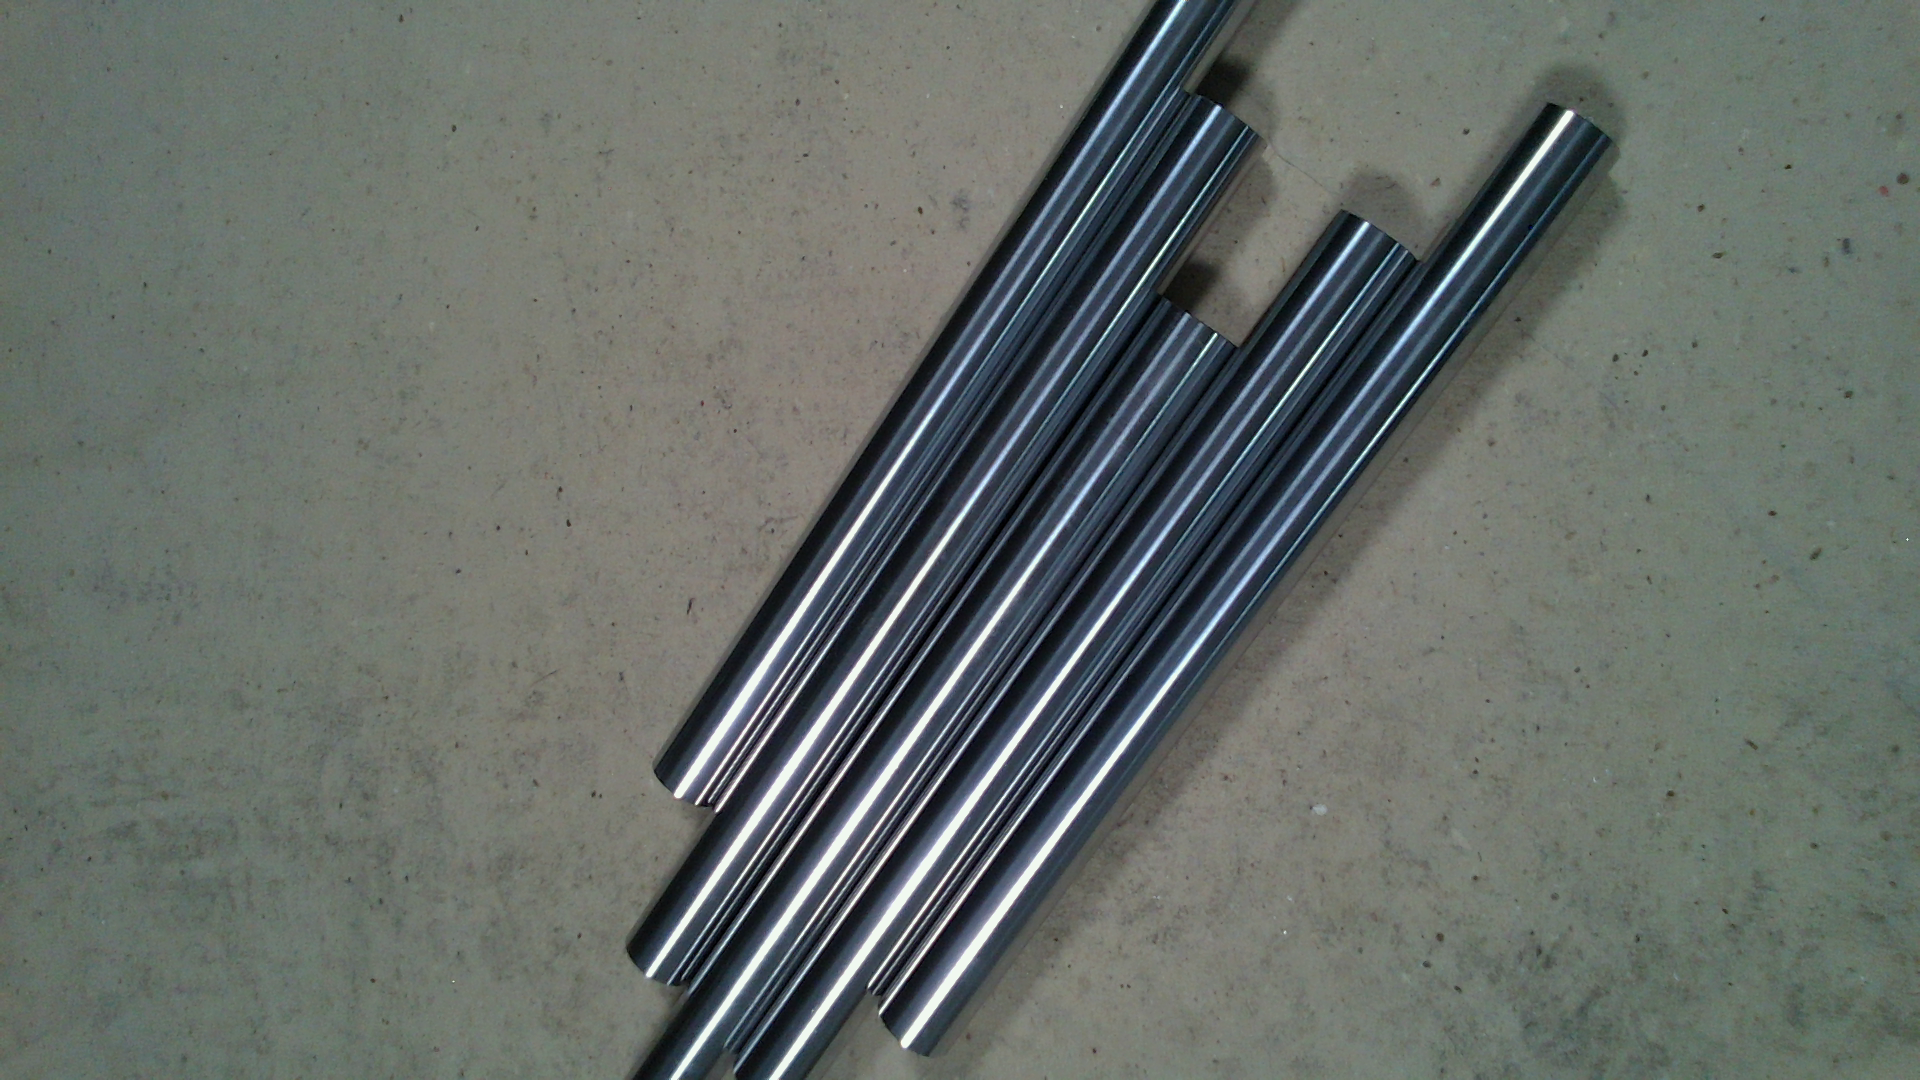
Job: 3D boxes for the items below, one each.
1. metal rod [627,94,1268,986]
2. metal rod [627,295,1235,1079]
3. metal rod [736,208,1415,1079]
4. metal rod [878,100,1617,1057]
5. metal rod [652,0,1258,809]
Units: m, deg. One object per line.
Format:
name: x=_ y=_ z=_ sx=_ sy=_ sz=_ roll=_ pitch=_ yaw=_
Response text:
metal rod: x=-0.010 y=0.009 z=0.400 sx=0.025 sy=0.025 sz=0.300 roll=38 pitch=102 yaw=16
metal rod: x=-0.017 y=0.062 z=0.402 sx=0.025 sy=0.025 sz=0.300 roll=38 pitch=102 yaw=16
metal rod: x=0.025 y=0.042 z=0.387 sx=0.025 sy=0.025 sz=0.300 roll=38 pitch=102 yaw=16
metal rod: x=0.069 y=0.020 z=0.371 sx=0.025 sy=0.025 sz=0.300 roll=38 pitch=102 yaw=16
metal rod: x=-0.002 y=-0.046 z=0.397 sx=0.025 sy=0.025 sz=0.300 roll=38 pitch=102 yaw=16
